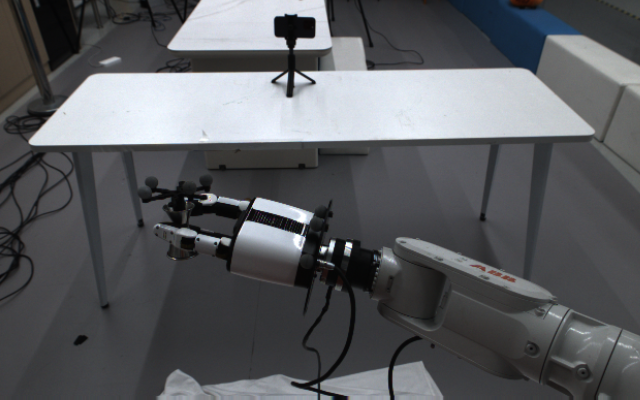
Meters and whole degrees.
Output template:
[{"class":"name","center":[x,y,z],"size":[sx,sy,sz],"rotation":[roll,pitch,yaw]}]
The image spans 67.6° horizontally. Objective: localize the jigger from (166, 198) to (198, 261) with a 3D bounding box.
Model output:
[{"class":"jigger","center":[-0.182,0.040,0.639],"size":[0.043,0.071,0.043],"rotation":[0,22,0]}]
